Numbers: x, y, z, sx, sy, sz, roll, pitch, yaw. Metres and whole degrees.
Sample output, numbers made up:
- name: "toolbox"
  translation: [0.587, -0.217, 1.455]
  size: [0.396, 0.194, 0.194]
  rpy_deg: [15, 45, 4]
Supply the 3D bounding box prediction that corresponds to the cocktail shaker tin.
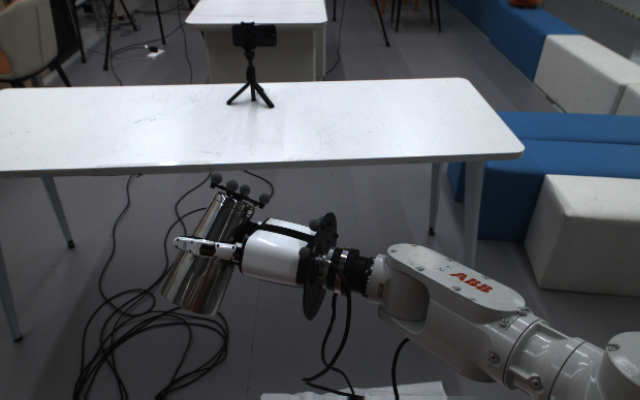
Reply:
- name: "cocktail shaker tin"
  translation: [-0.162, 0.075, 0.736]
  size: [0.093, 0.170, 0.093]
  rpy_deg: [23, 0, 0]
